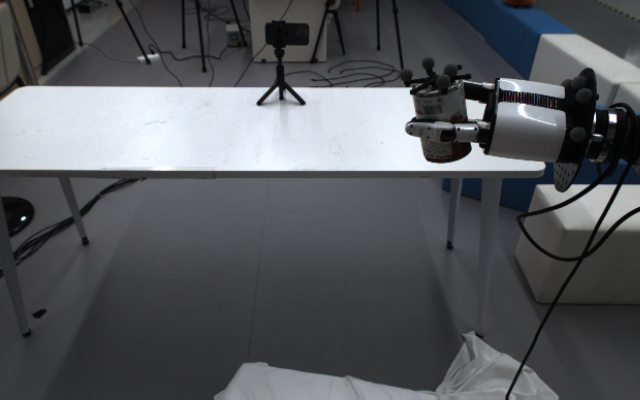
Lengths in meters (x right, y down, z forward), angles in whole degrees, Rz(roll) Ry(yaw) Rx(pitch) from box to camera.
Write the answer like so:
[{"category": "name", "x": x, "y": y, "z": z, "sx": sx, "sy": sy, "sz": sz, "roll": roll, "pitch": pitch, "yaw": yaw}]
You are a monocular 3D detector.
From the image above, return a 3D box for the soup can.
[{"category": "soup can", "x": 0.166, "y": -0.111, "z": 0.658, "sx": 0.067, "sy": 0.101, "sz": 0.067, "roll": -13, "pitch": 31, "yaw": 8}]
